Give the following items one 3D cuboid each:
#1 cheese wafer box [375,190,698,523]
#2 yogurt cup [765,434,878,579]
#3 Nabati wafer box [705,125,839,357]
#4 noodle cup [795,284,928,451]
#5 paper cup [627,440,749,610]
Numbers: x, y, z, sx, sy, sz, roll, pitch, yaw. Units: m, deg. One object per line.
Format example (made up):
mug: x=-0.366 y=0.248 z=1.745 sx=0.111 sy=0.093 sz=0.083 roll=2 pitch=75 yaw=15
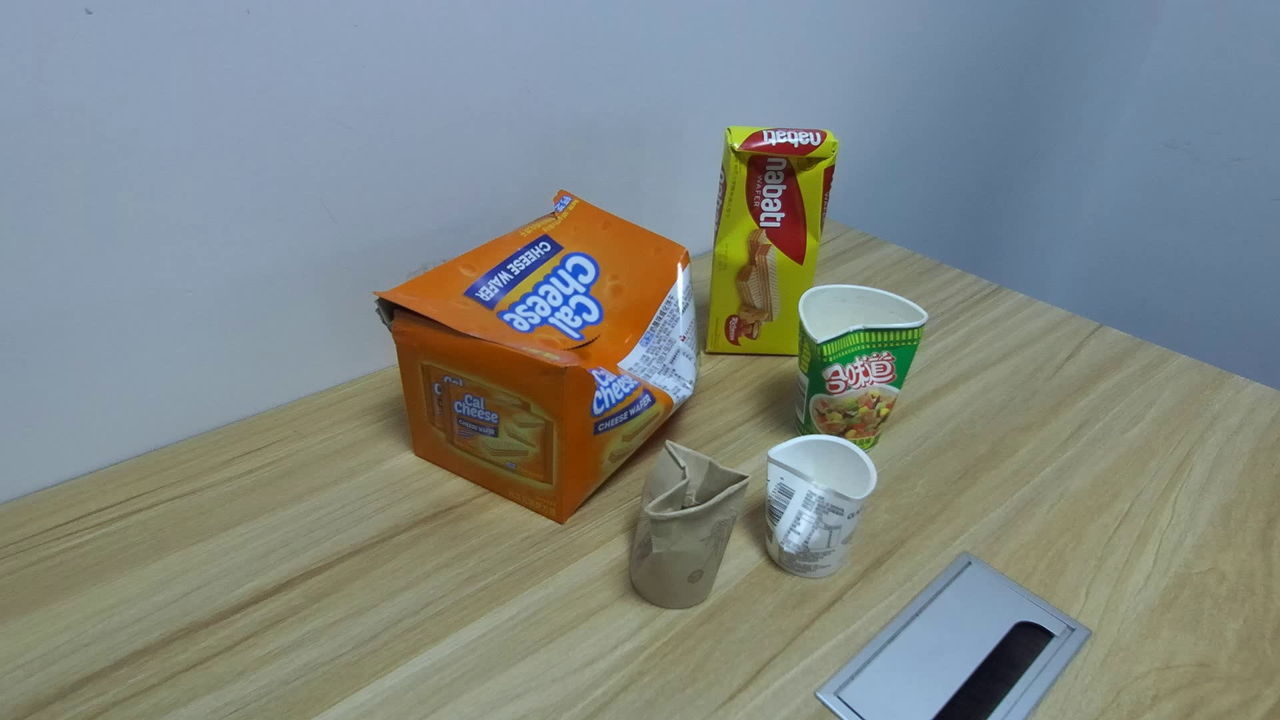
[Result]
cheese wafer box: x=-0.049 y=-0.015 z=0.549 sx=0.190 sy=0.145 sz=0.219 roll=18 pitch=37 yaw=24
yogurt cup: x=0.113 y=0.095 z=0.452 sx=0.067 sy=0.070 sz=0.067 roll=0 pitch=32 yaw=0
Nabati wafer box: x=0.111 y=-0.099 z=0.626 sx=0.096 sy=0.203 sz=0.042 roll=3 pitch=29 yaw=-3
noodle cup: x=0.163 y=0.009 z=0.548 sx=0.094 sy=0.109 sz=0.087 roll=3 pitch=33 yaw=3
paper cup: x=0.020 y=0.101 z=0.429 sx=0.067 sy=0.083 sz=0.058 roll=-23 pitch=40 yaw=-33
